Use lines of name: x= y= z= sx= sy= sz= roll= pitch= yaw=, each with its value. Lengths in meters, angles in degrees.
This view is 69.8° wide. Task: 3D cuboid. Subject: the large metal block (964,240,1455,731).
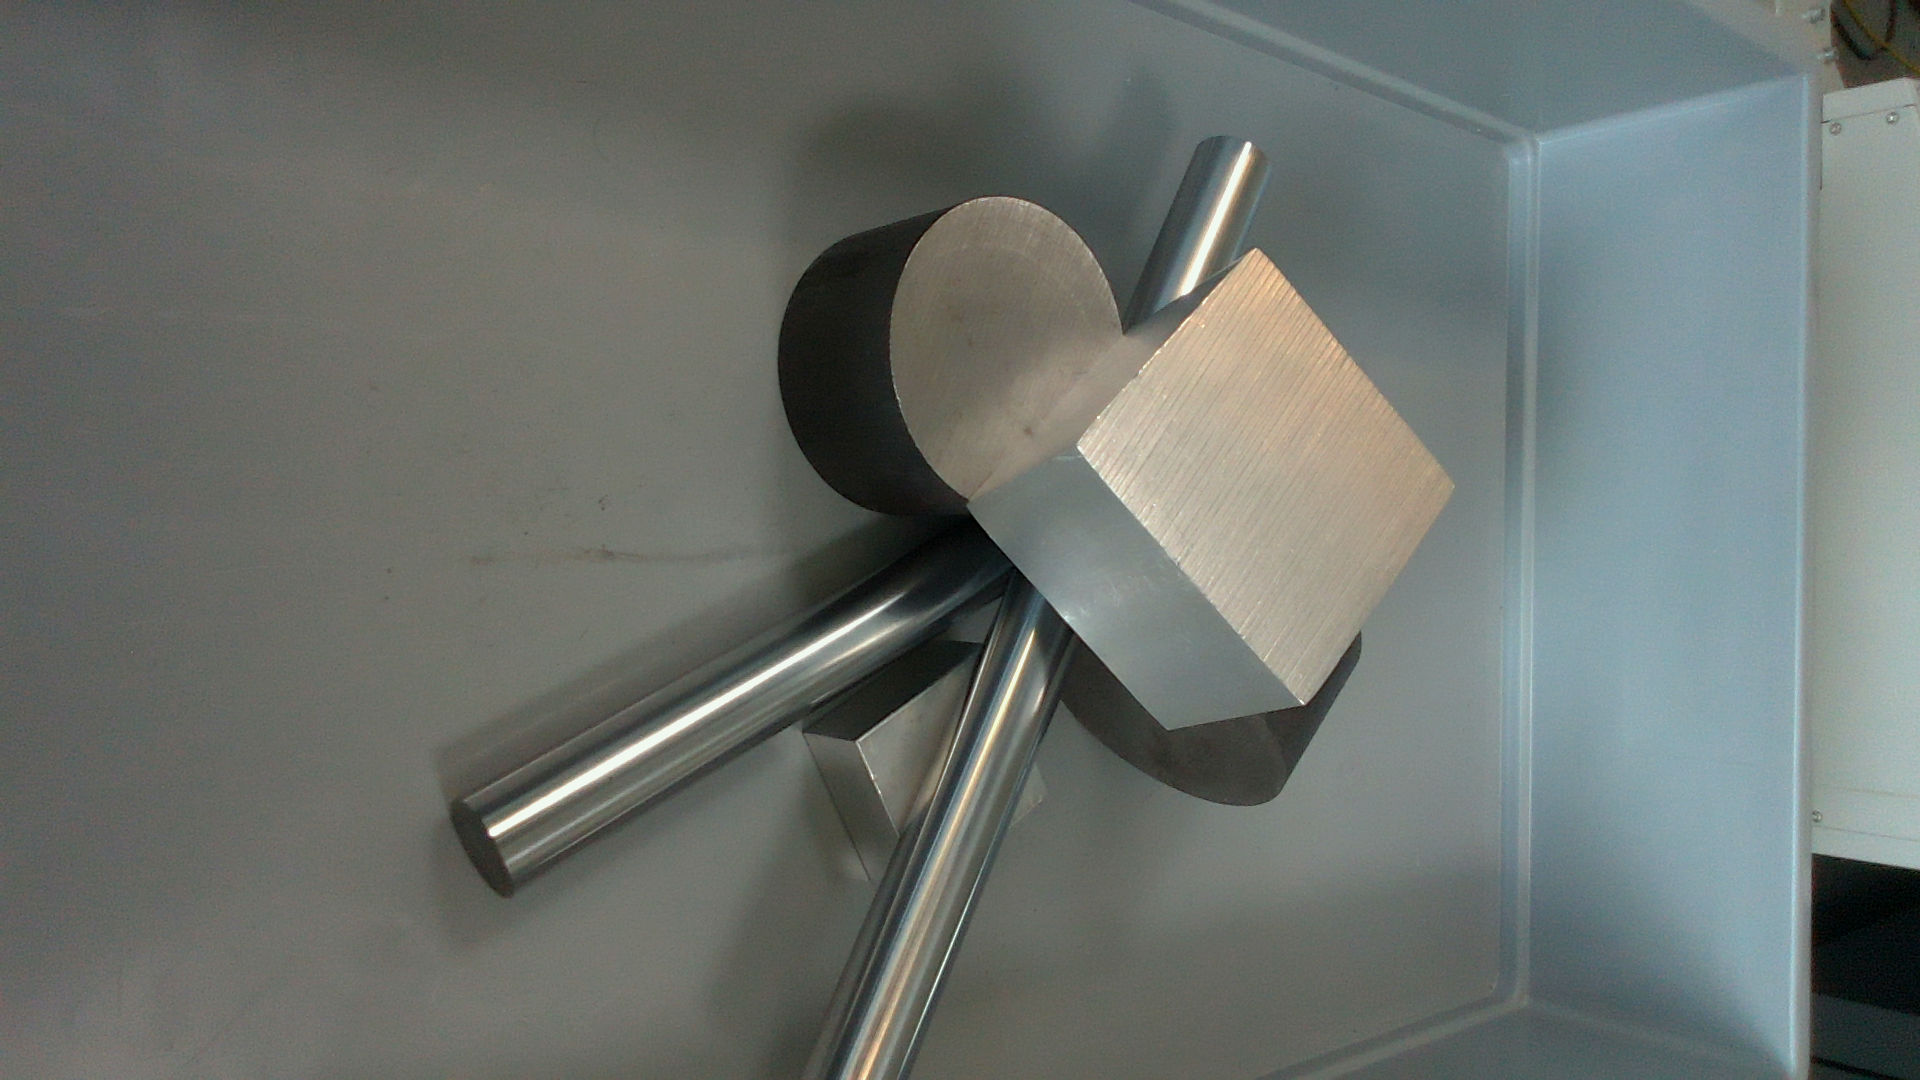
large metal block: x=0.063 y=-0.012 z=0.341 sx=0.080 sy=0.050 sz=0.080 roll=48 pitch=61 yaw=-9

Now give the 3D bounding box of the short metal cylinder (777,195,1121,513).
short metal cylinder: x=-0.002 y=-0.047 z=0.369 sx=0.080 sy=0.050 sz=0.080 roll=0 pitch=90 yaw=-40

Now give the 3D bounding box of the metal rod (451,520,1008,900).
metal rod: x=0.002 y=0.008 z=0.389 sx=0.301 sy=0.025 sz=0.025 roll=-30 pitch=108 yaw=-36

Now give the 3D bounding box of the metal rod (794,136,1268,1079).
metal rod: x=0.025 y=0.013 z=0.377 sx=0.025 sy=0.025 sz=0.300 roll=37 pitch=67 yaw=-34

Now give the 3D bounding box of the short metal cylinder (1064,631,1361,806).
short metal cylinder: x=0.072 y=0.034 z=0.412 sx=0.050 sy=0.080 sz=0.080 roll=-50 pitch=119 yaw=-27

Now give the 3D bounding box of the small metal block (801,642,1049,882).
small metal block: x=-0.009 y=0.062 z=0.380 sx=0.050 sy=0.025 sz=0.050 roll=-35 pitch=111 yaw=-34
